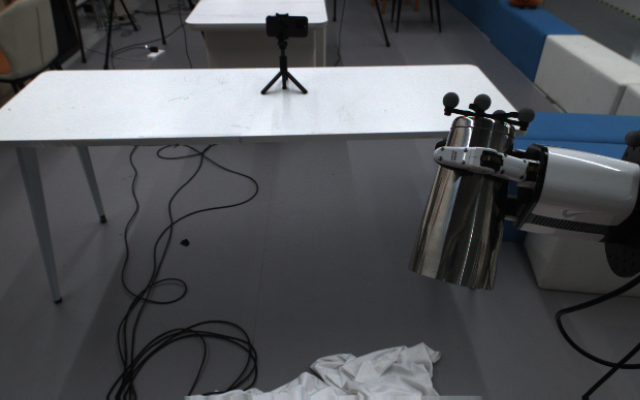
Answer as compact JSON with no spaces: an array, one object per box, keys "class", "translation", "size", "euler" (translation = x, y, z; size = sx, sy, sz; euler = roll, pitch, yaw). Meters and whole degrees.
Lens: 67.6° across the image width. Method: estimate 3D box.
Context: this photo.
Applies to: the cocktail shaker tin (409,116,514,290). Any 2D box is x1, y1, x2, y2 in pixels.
[{"class":"cocktail shaker tin","translation":[0.163,-0.002,0.525],"size":[0.093,0.170,0.093],"euler":[13,1,0]}]
